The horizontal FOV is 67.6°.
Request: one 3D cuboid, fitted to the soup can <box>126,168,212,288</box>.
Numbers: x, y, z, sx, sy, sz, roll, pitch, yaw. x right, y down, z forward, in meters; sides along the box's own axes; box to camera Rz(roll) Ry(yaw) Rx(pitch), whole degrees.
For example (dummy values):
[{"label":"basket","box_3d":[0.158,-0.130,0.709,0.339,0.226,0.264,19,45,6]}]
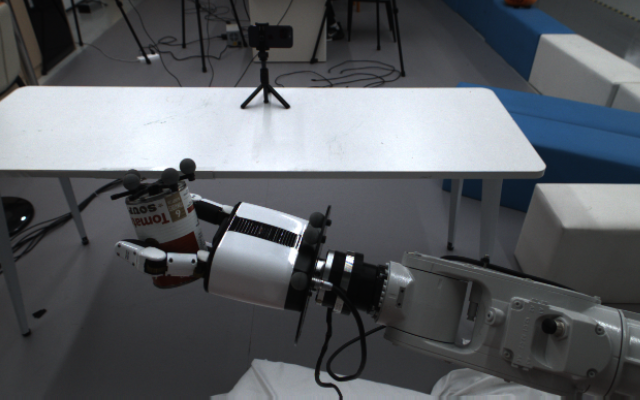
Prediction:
[{"label":"soup can","box_3d":[-0.163,0.038,0.534,0.067,0.101,0.067,-12,17,4]}]
